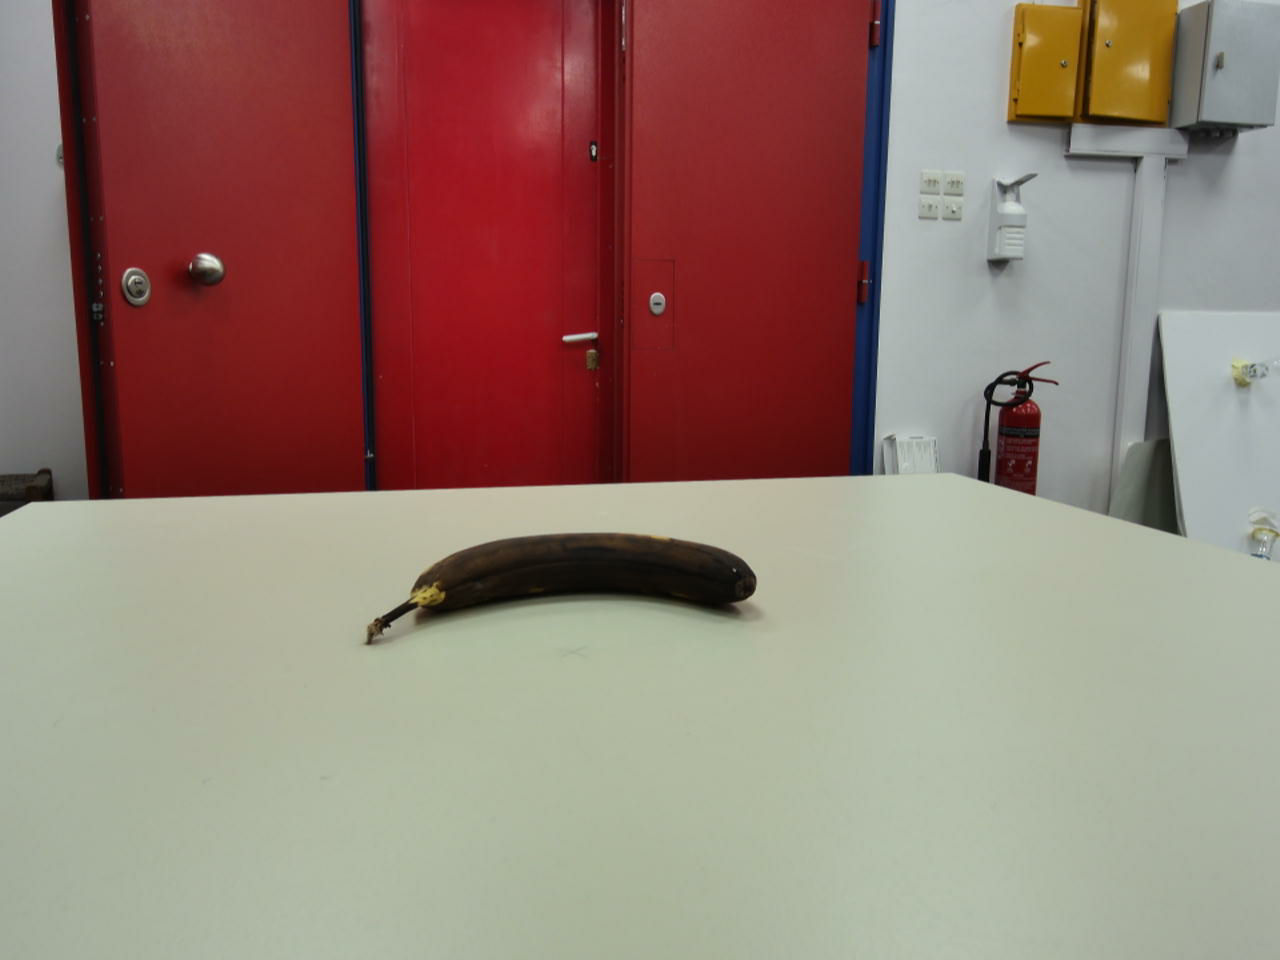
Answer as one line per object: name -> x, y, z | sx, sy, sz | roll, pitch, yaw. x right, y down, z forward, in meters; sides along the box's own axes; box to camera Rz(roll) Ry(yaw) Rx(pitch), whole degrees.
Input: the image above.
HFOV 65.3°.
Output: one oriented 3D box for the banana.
banana -> -0.039, 0.048, 0.507 | 0.188, 0.033, 0.091 | -2, 7, -12
